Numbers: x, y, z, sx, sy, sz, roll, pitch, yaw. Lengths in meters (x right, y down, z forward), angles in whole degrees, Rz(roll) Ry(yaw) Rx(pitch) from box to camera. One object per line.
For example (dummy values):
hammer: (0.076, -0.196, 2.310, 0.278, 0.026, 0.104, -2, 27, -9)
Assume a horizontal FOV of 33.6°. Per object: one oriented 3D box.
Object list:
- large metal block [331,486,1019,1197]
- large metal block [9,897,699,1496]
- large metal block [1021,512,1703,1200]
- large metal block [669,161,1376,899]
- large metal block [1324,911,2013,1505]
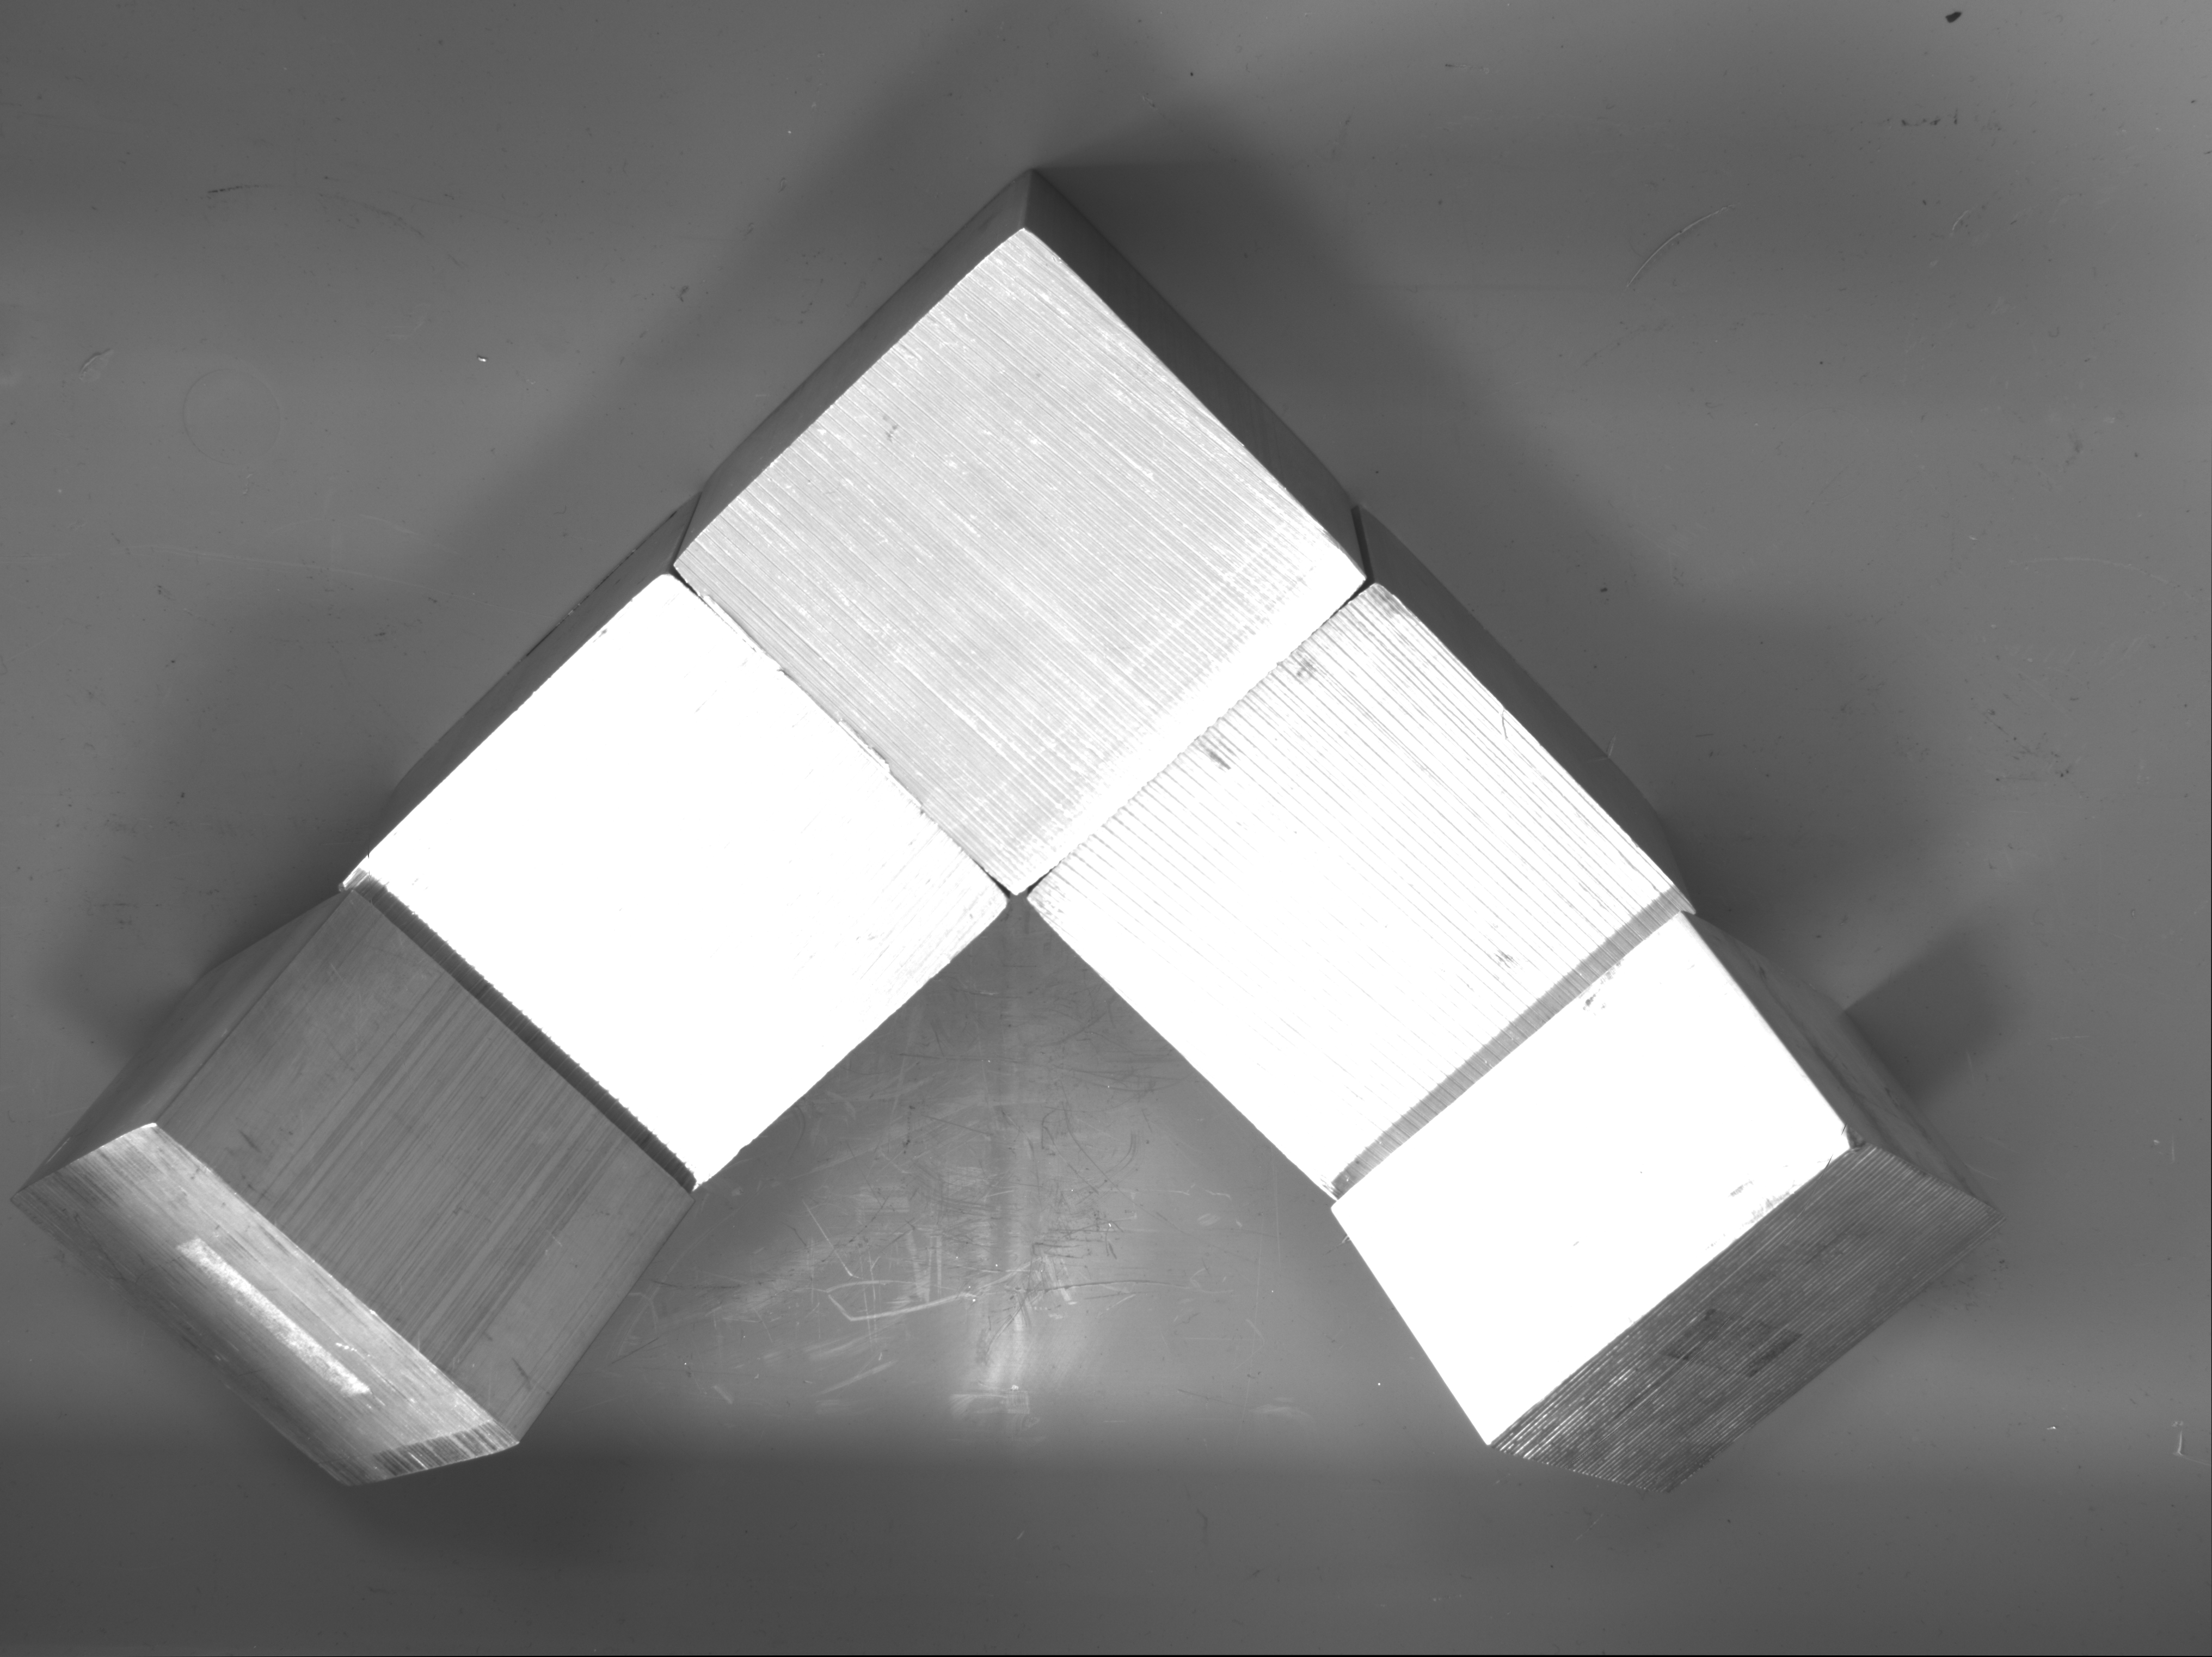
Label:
large metal block: (-0.071, 0.002, 0.629, 0.080, 0.050, 0.080, -42, 105, 14)
large metal block: (-0.130, 0.066, 0.629, 0.080, 0.050, 0.080, 44, 147, -14)
large metal block: (0.043, 0.005, 0.630, 0.080, 0.050, 0.080, -42, 105, 14)
large metal block: (-0.013, -0.050, 0.610, 0.080, 0.050, 0.080, -42, 105, 14)
large metal block: (0.098, 0.068, 0.631, 0.080, 0.050, 0.080, -42, 148, 14)
